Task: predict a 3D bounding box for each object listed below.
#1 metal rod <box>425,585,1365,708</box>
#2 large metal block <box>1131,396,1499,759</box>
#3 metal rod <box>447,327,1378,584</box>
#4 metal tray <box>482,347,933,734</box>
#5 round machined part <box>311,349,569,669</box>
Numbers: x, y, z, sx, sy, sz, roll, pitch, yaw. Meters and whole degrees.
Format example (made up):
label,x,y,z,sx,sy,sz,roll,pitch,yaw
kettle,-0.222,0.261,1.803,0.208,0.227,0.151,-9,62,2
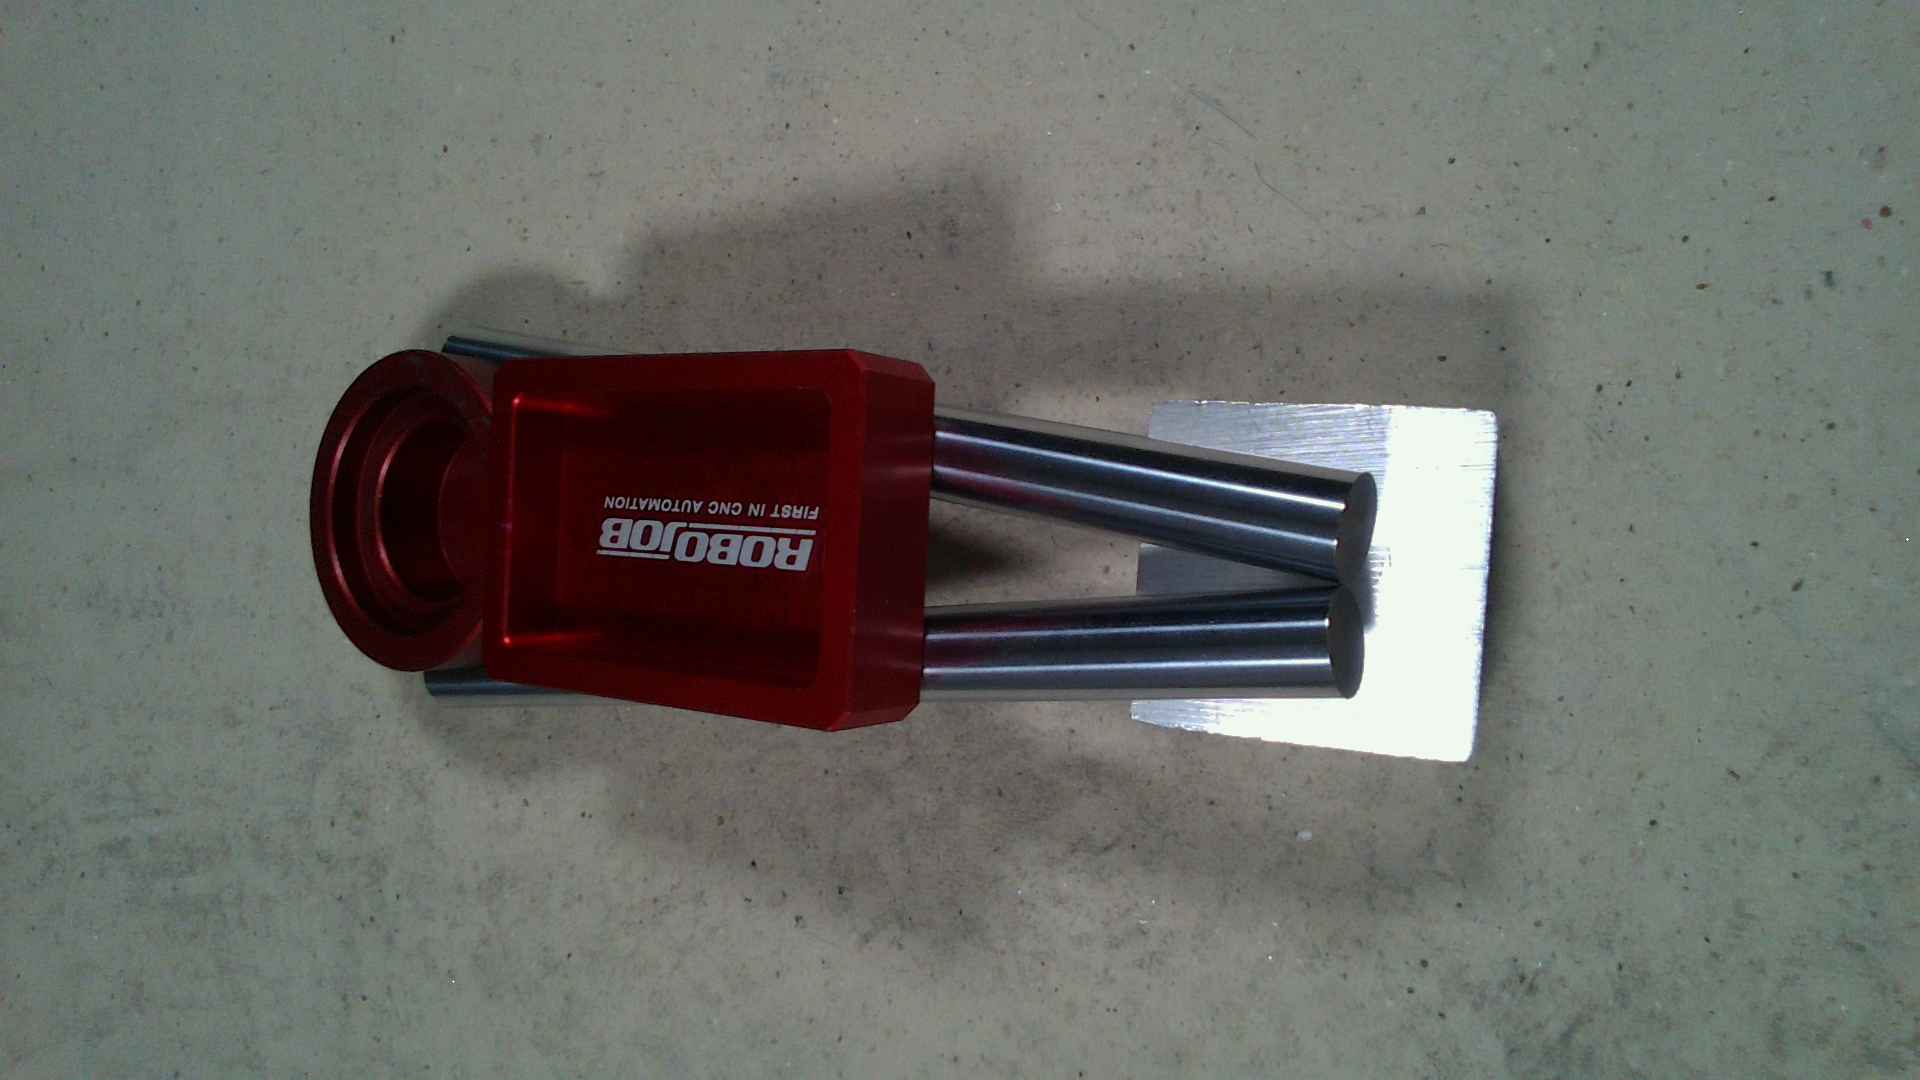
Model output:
label,x,y,z,sx,sy,sz,roll,pitch,yaw
metal rod,-0.042,0.033,0.377,0.299,0.025,0.025,-5,88,33
large metal block,0.091,0.007,0.348,0.080,0.050,0.080,4,91,20
metal rod,-0.038,-0.030,0.375,0.299,0.025,0.025,13,95,32
metal tray,-0.071,-0.003,0.364,0.129,0.030,0.090,3,91,33
round machined part,-0.158,-0.009,0.438,0.098,0.042,0.098,0,89,31
